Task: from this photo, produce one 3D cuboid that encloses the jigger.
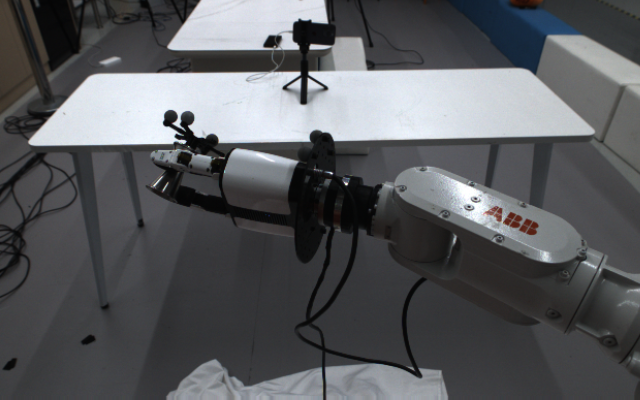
[{"bbox_3d":[-0.188,-0.038,0.620,0.043,0.043,0.071,20,74,24],"label":"jigger"}]
